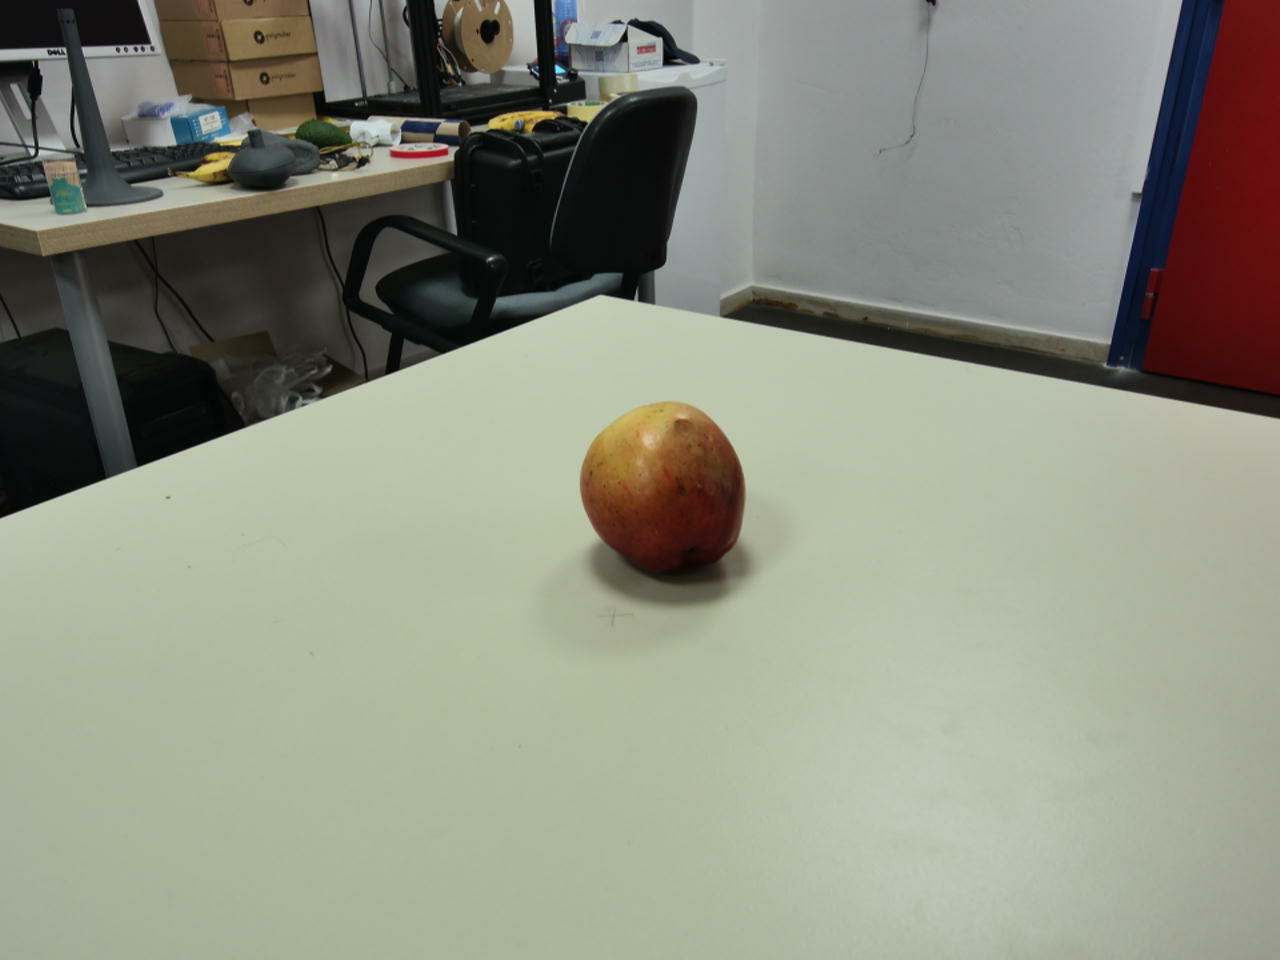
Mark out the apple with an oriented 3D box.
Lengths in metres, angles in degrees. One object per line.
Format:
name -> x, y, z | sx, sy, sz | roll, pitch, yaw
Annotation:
apple -> 0.012, 0.002, 0.524 | 0.086, 0.084, 0.093 | 0, 24, 1
